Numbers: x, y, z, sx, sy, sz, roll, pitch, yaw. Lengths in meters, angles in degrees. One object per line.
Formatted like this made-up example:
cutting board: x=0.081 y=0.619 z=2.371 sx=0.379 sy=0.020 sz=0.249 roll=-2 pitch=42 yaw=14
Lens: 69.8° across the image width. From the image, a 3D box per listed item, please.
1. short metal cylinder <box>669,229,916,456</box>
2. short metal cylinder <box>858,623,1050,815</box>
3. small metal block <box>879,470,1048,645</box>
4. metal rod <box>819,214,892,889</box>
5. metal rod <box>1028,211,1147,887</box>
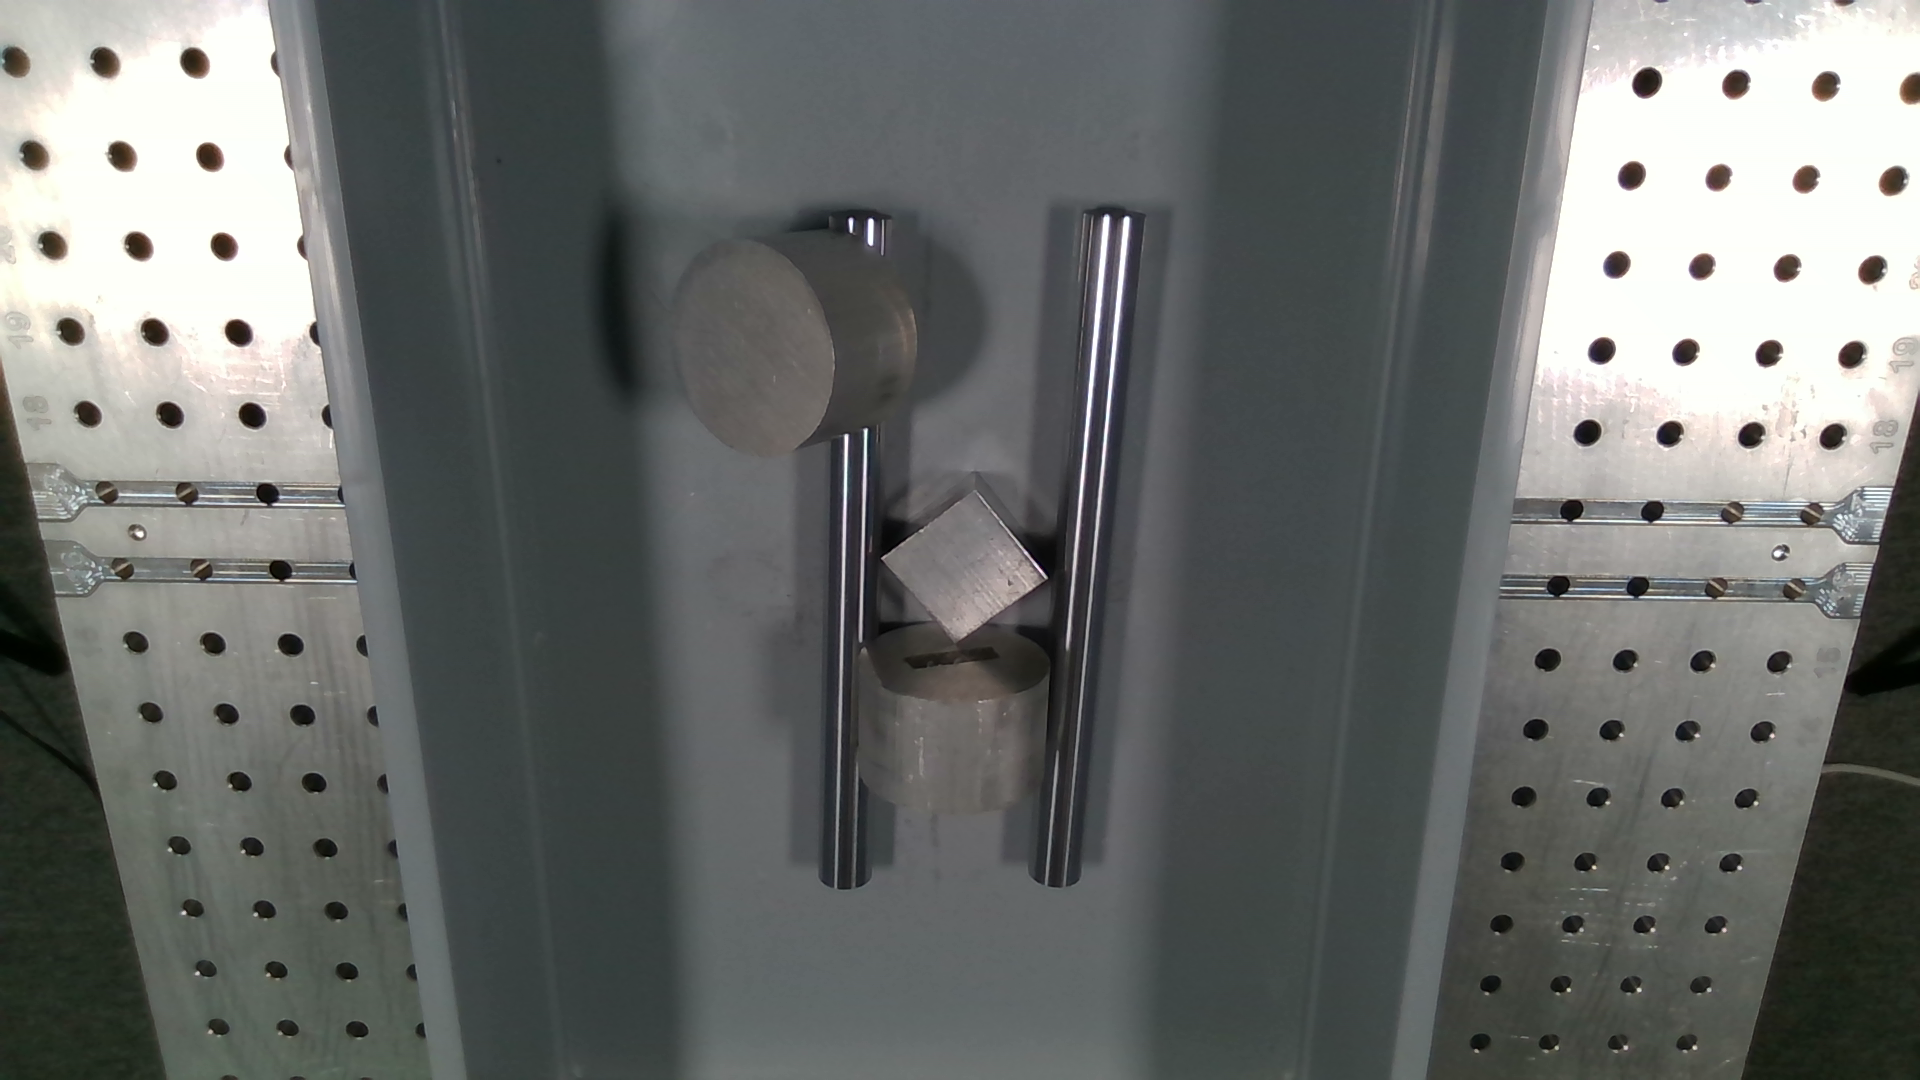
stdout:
short metal cylinder: x=-0.064 y=-0.076 z=0.523 sx=0.080 sy=0.050 sz=0.080 roll=12 pitch=112 yaw=32
short metal cylinder: x=-0.003 y=0.073 z=0.582 sx=0.080 sy=0.080 sz=0.050 roll=2 pitch=110 yaw=-1
small metal block: x=0.002 y=0.008 z=0.586 sx=0.050 sy=0.025 sz=0.050 roll=-36 pitch=106 yaw=12
metal rod: x=-0.046 y=0.014 z=0.588 sx=0.025 sy=0.025 sz=0.301 roll=3 pitch=110 yaw=-1
metal rod: x=0.052 y=0.013 z=0.588 sx=0.025 sy=0.025 sz=0.301 roll=3 pitch=110 yaw=-1
